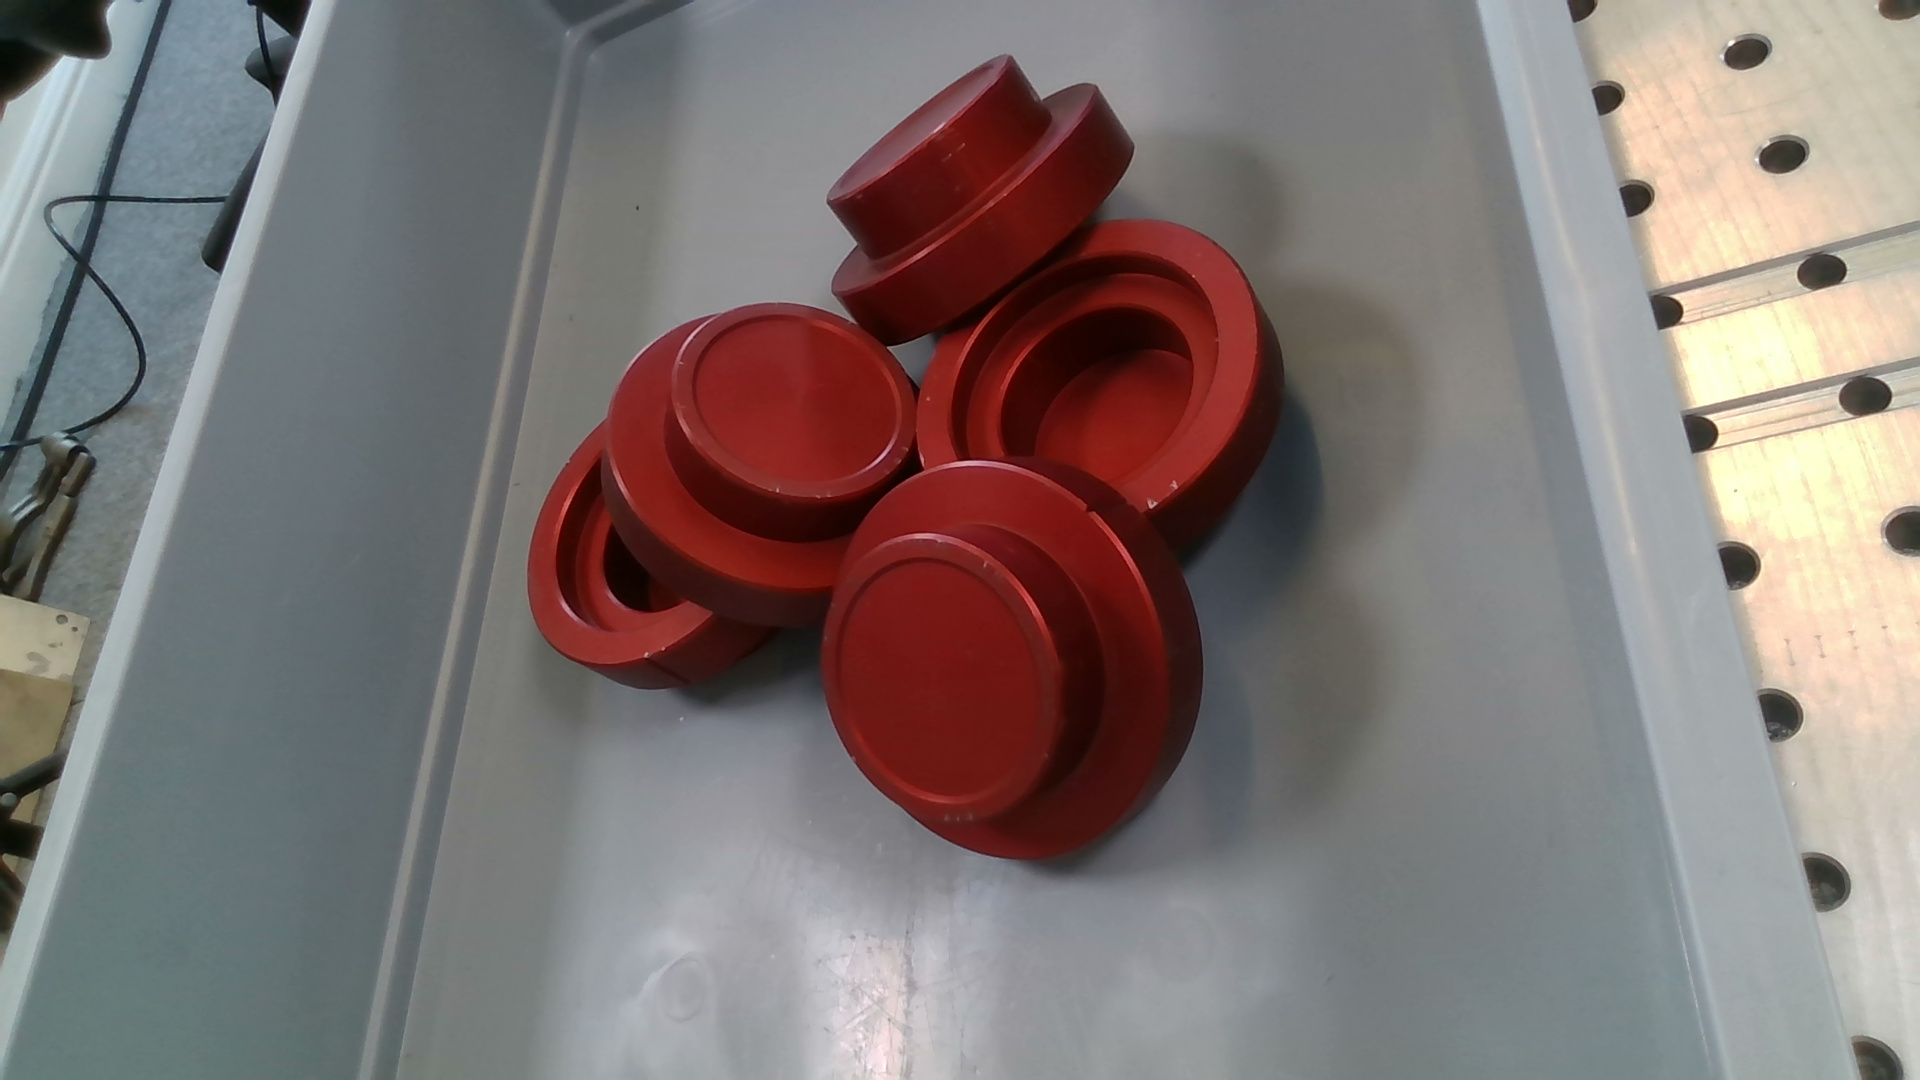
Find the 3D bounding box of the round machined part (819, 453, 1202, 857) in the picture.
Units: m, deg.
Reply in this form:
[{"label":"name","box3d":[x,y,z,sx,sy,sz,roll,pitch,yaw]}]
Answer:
[{"label":"round machined part","box3d":[0.005,0.029,0.333,0.098,0.042,0.098,6,101,34]}]

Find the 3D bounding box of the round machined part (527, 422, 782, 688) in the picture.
[{"label":"round machined part","box3d":[-0.084,0.000,0.431,0.098,0.042,0.098,-14,59,25]}]

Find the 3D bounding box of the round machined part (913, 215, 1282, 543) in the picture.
[{"label":"round machined part","box3d":[0.040,-0.035,0.373,0.098,0.042,0.098,-14,59,25]}]

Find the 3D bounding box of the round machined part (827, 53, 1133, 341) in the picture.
[{"label":"round machined part","box3d":[-0.001,-0.106,0.409,0.098,0.042,0.098,-33,23,16]}]

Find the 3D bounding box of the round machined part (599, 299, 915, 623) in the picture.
[{"label":"round machined part","box3d":[-0.050,-0.029,0.390,0.042,0.098,0.098,119,150,-53]}]
